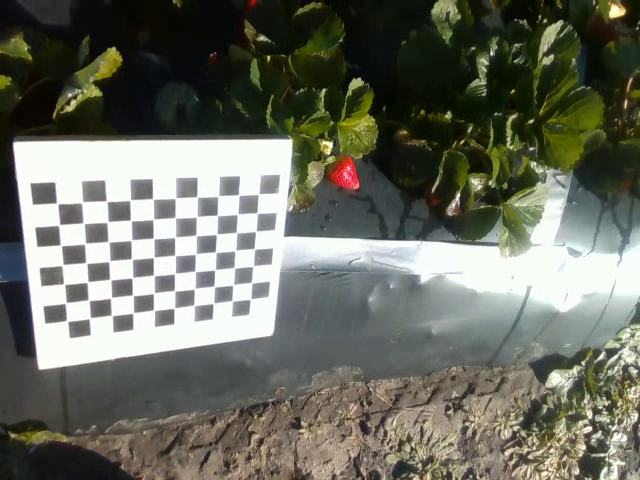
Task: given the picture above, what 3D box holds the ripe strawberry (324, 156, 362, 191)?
[{"bbox_3d":[0.034,-0.085,0.838,0.054,0.048,0.030,45,4,-35],"label":"ripe strawberry"}]
